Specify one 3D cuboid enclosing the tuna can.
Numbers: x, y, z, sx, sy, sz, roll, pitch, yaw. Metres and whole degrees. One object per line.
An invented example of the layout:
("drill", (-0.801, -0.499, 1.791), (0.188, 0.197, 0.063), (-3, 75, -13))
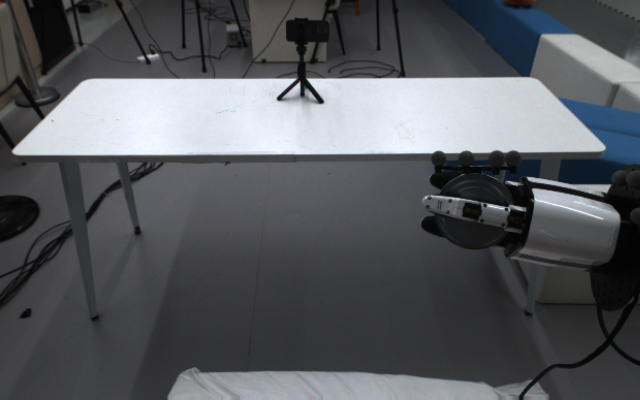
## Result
("tuna can", (0.177, 0.010, 0.553), (0.085, 0.085, 0.034), (12, 8, 15))
